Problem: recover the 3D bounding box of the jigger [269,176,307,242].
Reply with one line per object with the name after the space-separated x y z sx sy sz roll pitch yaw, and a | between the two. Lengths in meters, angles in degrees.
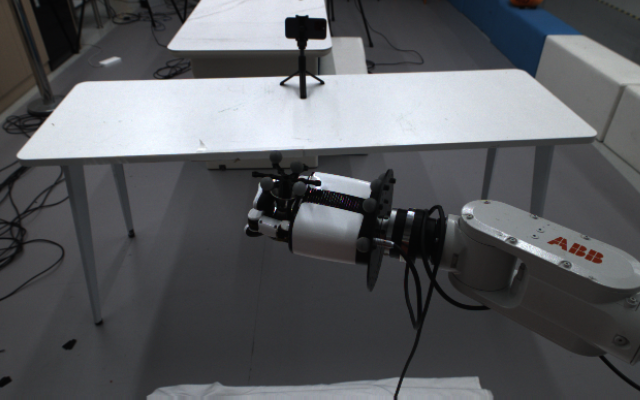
-0.047 0.016 0.646 0.043 0.071 0.043 6 32 -4 | jigger
